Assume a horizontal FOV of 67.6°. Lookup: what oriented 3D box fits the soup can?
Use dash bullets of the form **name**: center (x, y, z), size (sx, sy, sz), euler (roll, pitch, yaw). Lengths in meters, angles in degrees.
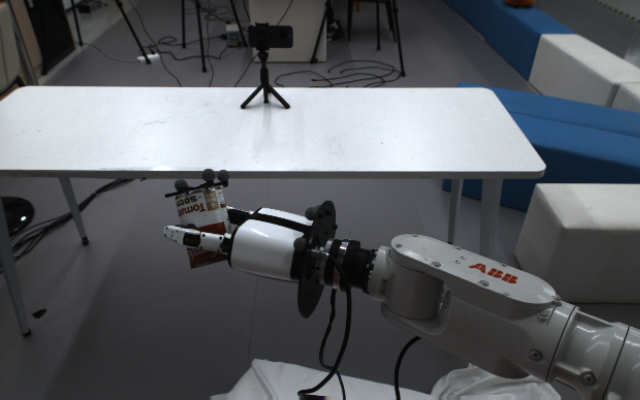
- **soup can**: center (-0.158, 0.040, 0.677), size (0.067, 0.101, 0.067), euler (-14, -2, -1)
